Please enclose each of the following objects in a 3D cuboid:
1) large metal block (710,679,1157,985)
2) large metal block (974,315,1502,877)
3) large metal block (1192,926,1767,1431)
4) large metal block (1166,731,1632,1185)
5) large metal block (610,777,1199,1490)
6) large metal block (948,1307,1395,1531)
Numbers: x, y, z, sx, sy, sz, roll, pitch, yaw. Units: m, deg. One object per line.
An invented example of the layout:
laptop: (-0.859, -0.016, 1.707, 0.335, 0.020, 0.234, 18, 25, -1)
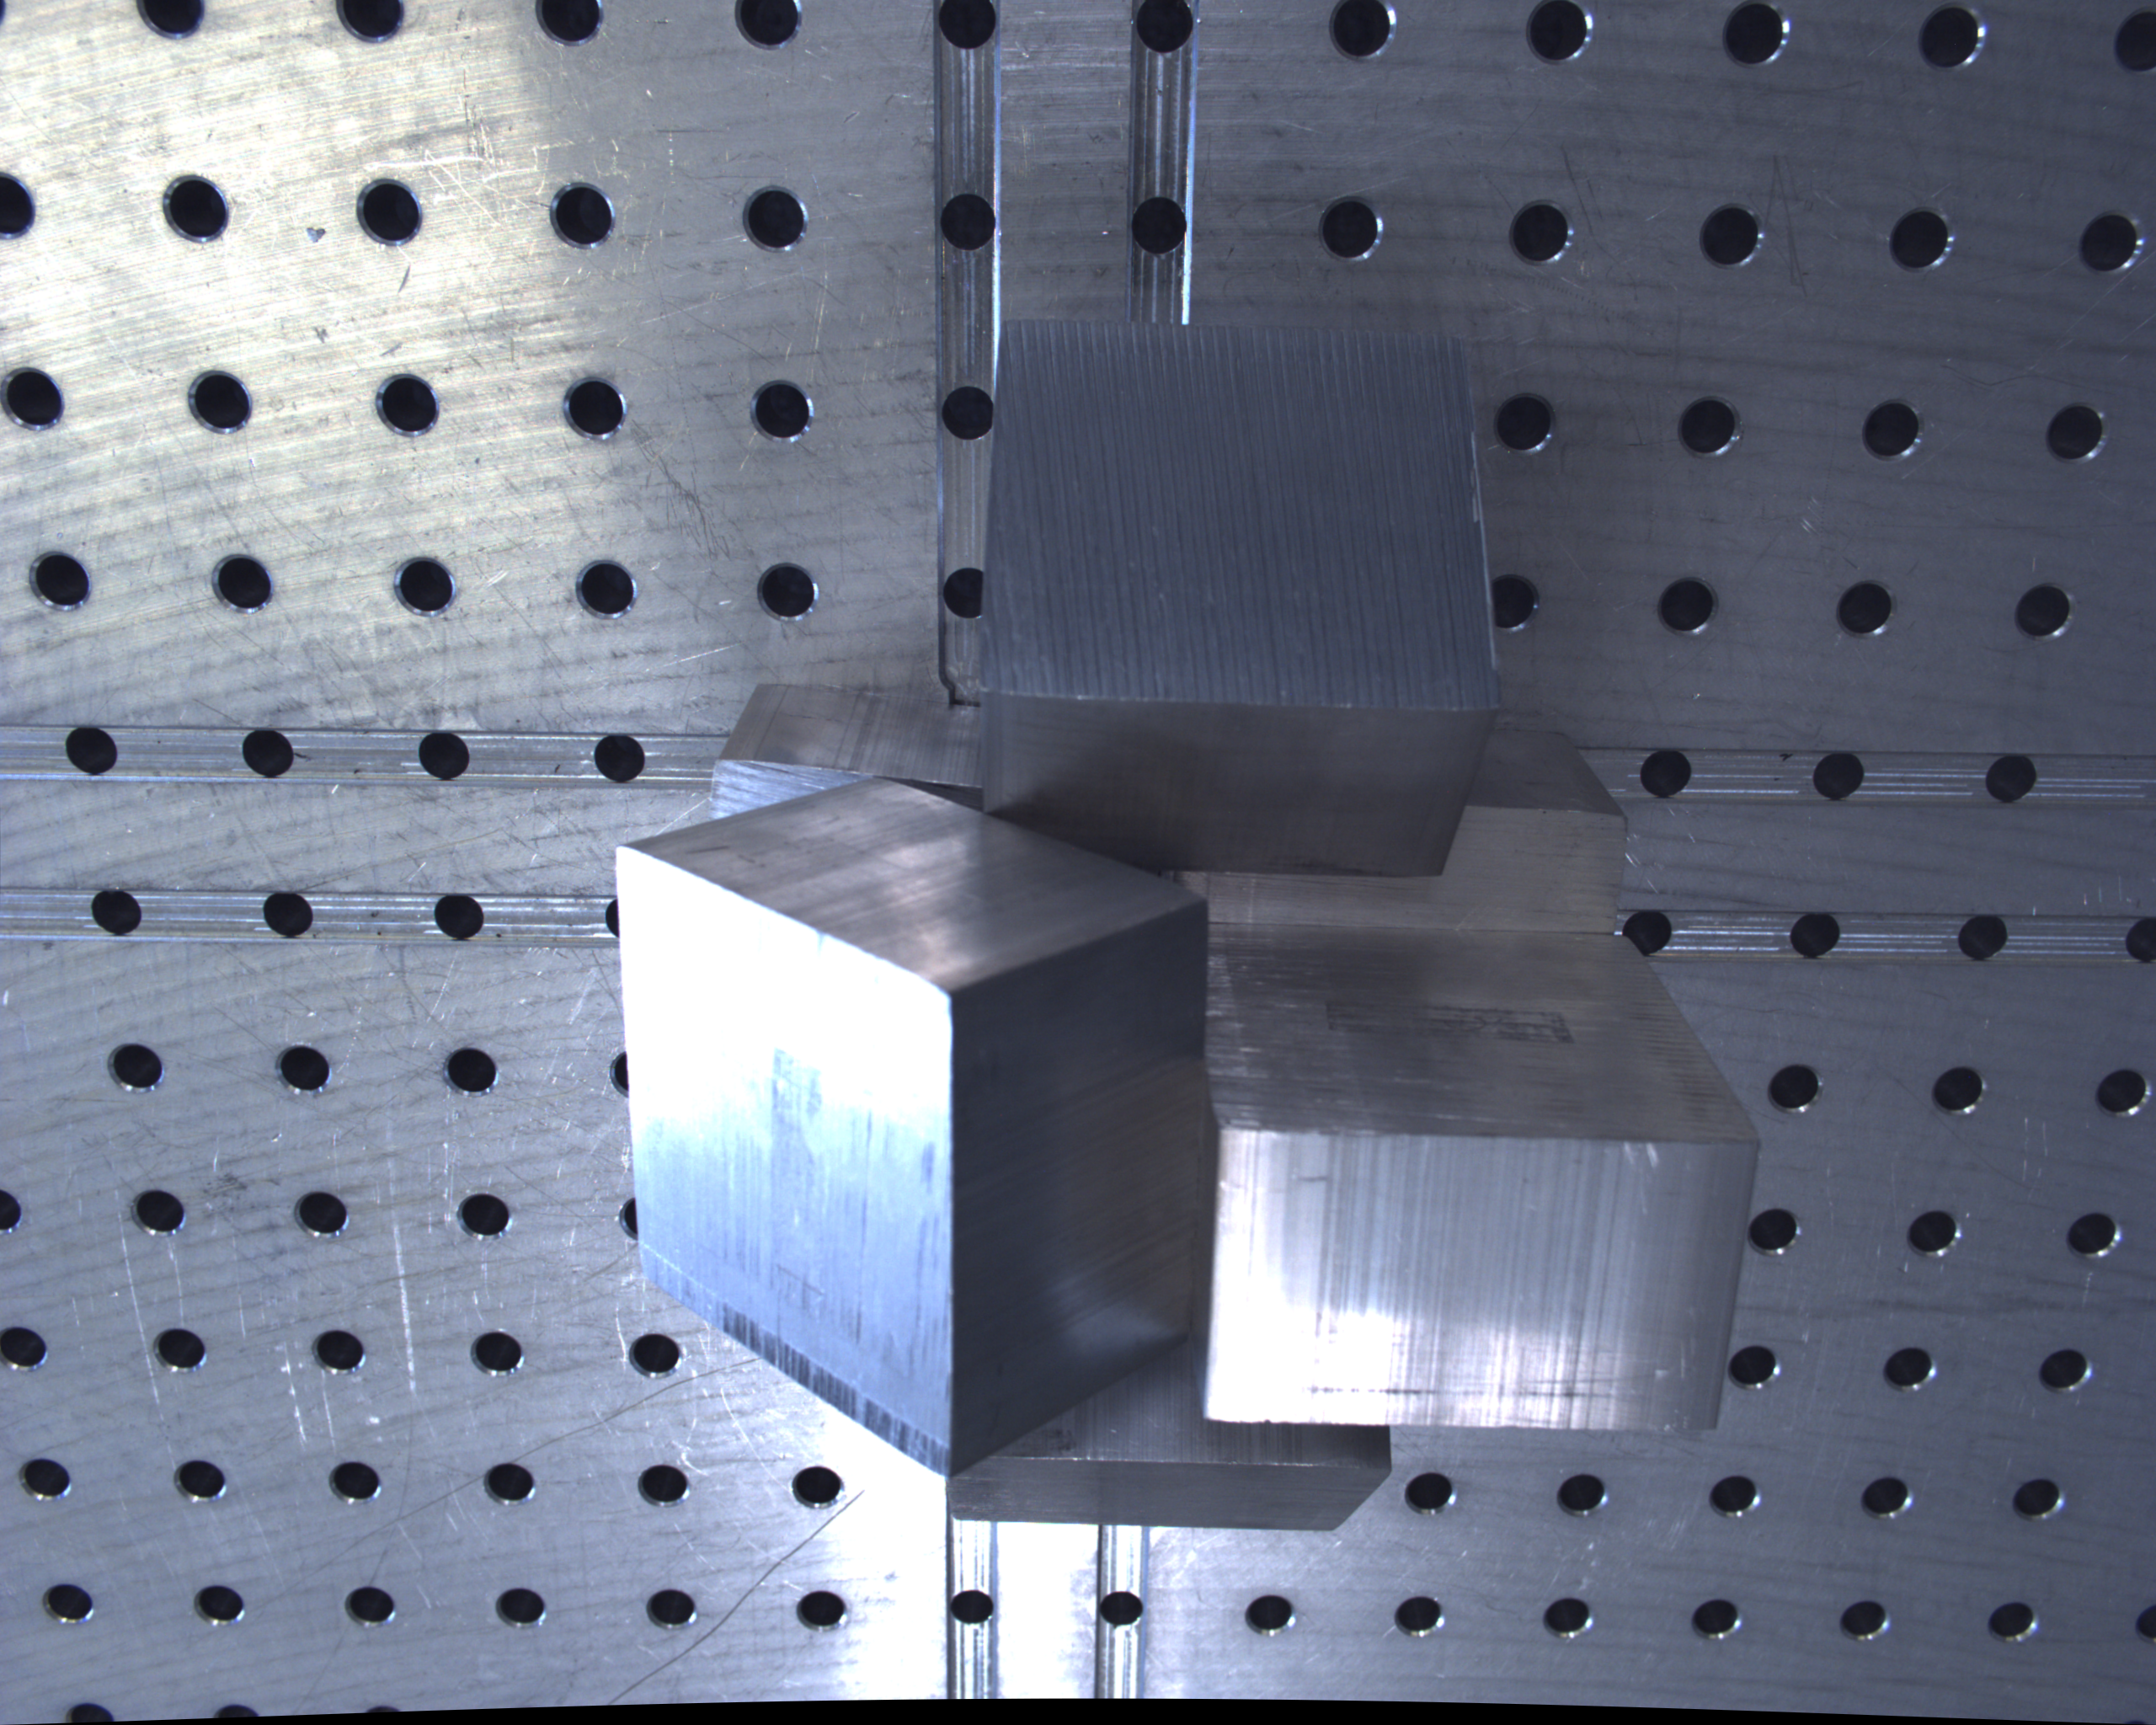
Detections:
large metal block: (-0.029, 0.014, 0.405, 0.080, 0.050, 0.079, 6, 110, -3)
large metal block: (0.025, -0.046, 0.360, 0.080, 0.080, 0.050, 2, 148, -1)
large metal block: (0.059, 0.049, 0.349, 0.080, 0.080, 0.050, 1, 110, -1)
large metal block: (0.056, 0.018, 0.407, 0.080, 0.050, 0.079, 3, 110, -1)
large metal block: (-0.029, 0.039, 0.336, 0.080, 0.050, 0.079, 20, 118, 41)
large metal block: (0.016, 0.100, 0.415, 0.080, 0.050, 0.080, 2, 155, -1)
